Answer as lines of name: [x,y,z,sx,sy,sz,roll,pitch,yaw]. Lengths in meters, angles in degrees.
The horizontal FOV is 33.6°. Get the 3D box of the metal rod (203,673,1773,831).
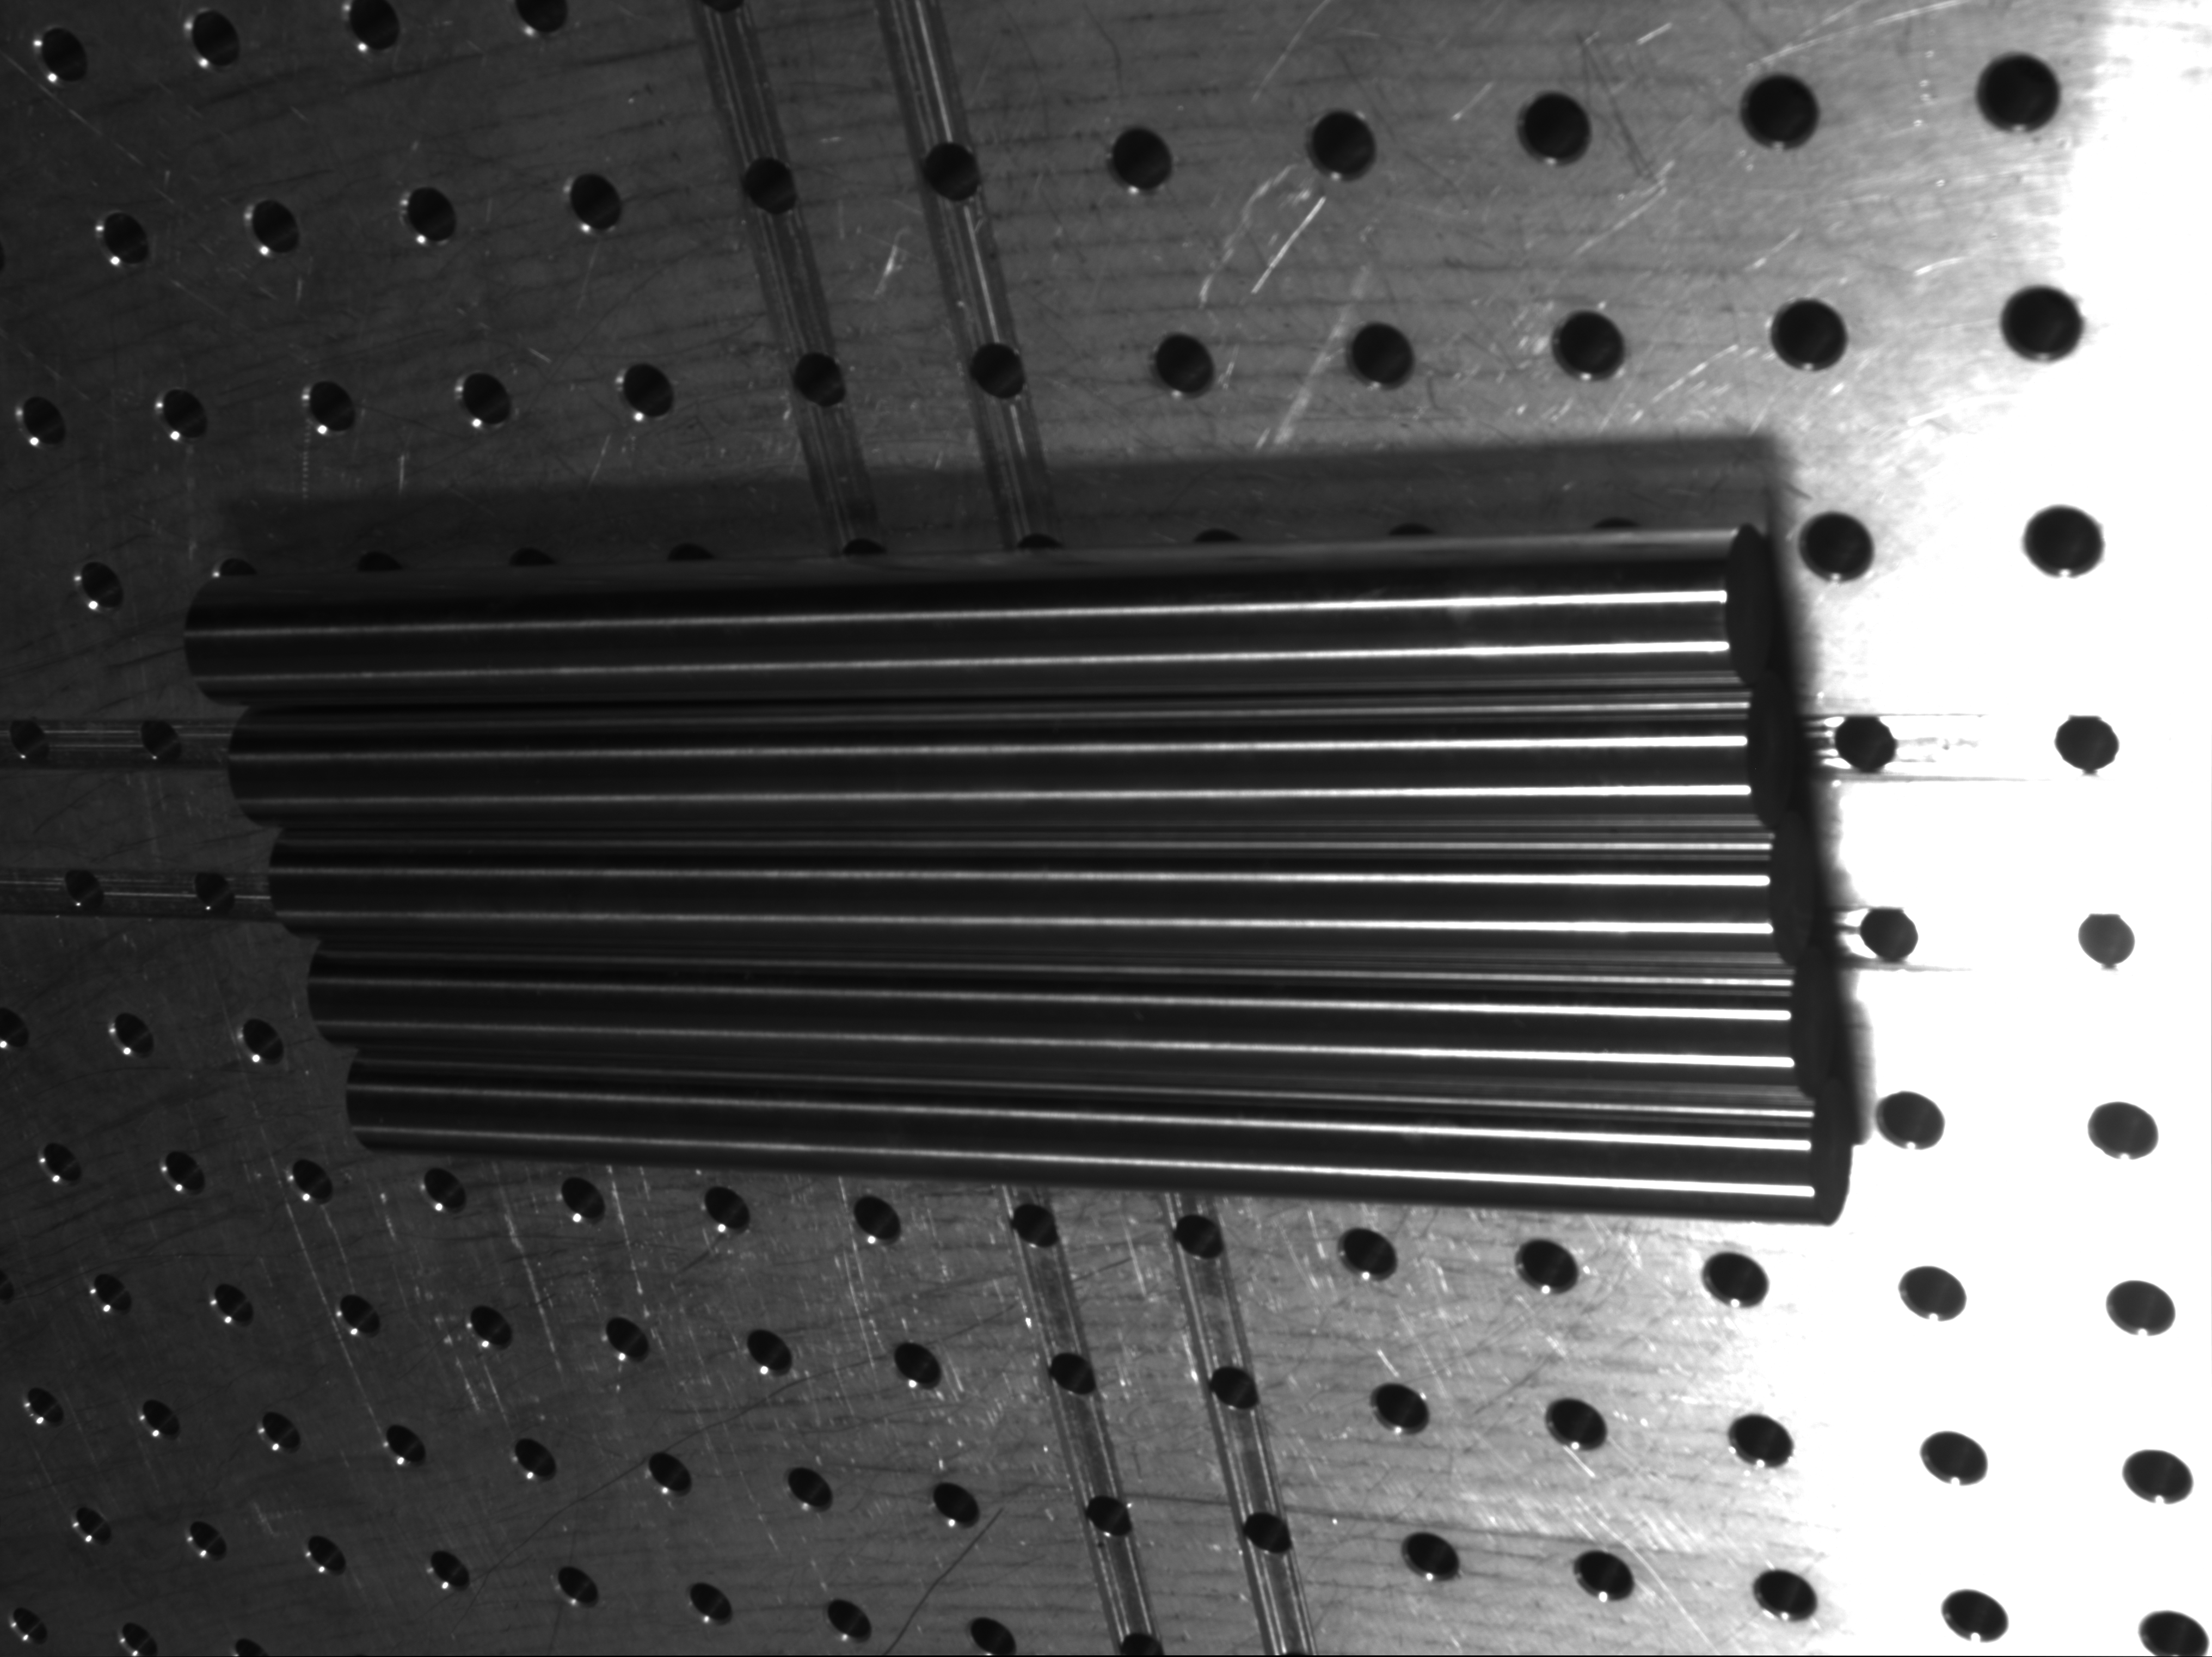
metal rod: [-0.033,-0.013,0.643,0.299,0.025,0.025,0,118,26]

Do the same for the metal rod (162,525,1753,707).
metal rod: [-0.038,-0.035,0.632,0.299,0.025,0.025,0,118,26]

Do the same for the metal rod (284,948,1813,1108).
metal rod: [-0.022,0.032,0.664,0.299,0.025,0.025,0,118,26]

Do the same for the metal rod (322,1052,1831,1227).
metal rod: [-0.017,0.054,0.674,0.299,0.025,0.025,0,118,27]

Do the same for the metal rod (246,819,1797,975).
metal rod: [-0.027,0.010,0.653,0.299,0.025,0.025,0,118,26]
